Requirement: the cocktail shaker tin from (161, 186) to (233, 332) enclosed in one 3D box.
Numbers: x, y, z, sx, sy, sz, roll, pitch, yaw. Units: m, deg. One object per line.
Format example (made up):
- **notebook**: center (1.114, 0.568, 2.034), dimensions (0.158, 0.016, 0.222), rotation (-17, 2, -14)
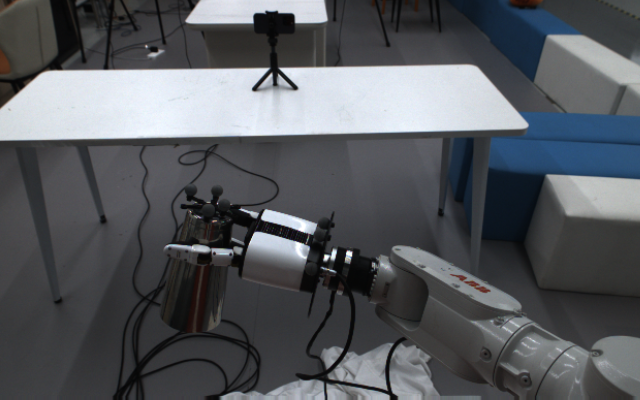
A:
- **cocktail shaker tin**: center (-0.173, 0.093, 0.706), dimensions (0.093, 0.170, 0.093), rotation (14, 18, -5)
